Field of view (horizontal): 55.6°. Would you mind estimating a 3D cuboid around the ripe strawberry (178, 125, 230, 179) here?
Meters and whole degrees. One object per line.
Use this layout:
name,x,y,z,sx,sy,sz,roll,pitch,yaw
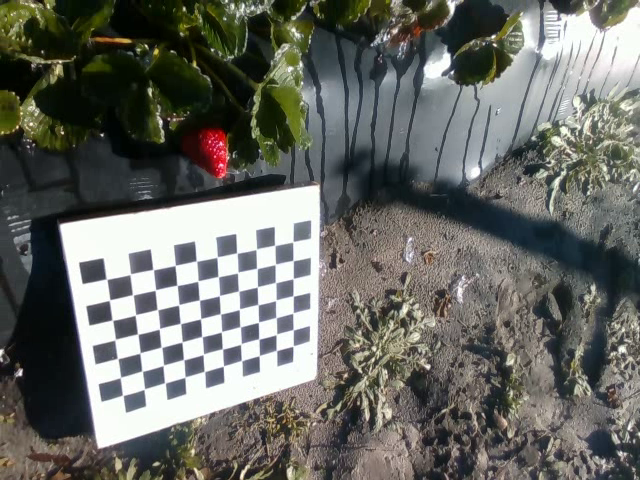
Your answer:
ripe strawberry,-0.110,-0.088,0.601,0.048,0.061,0.044,-18,-4,-25
